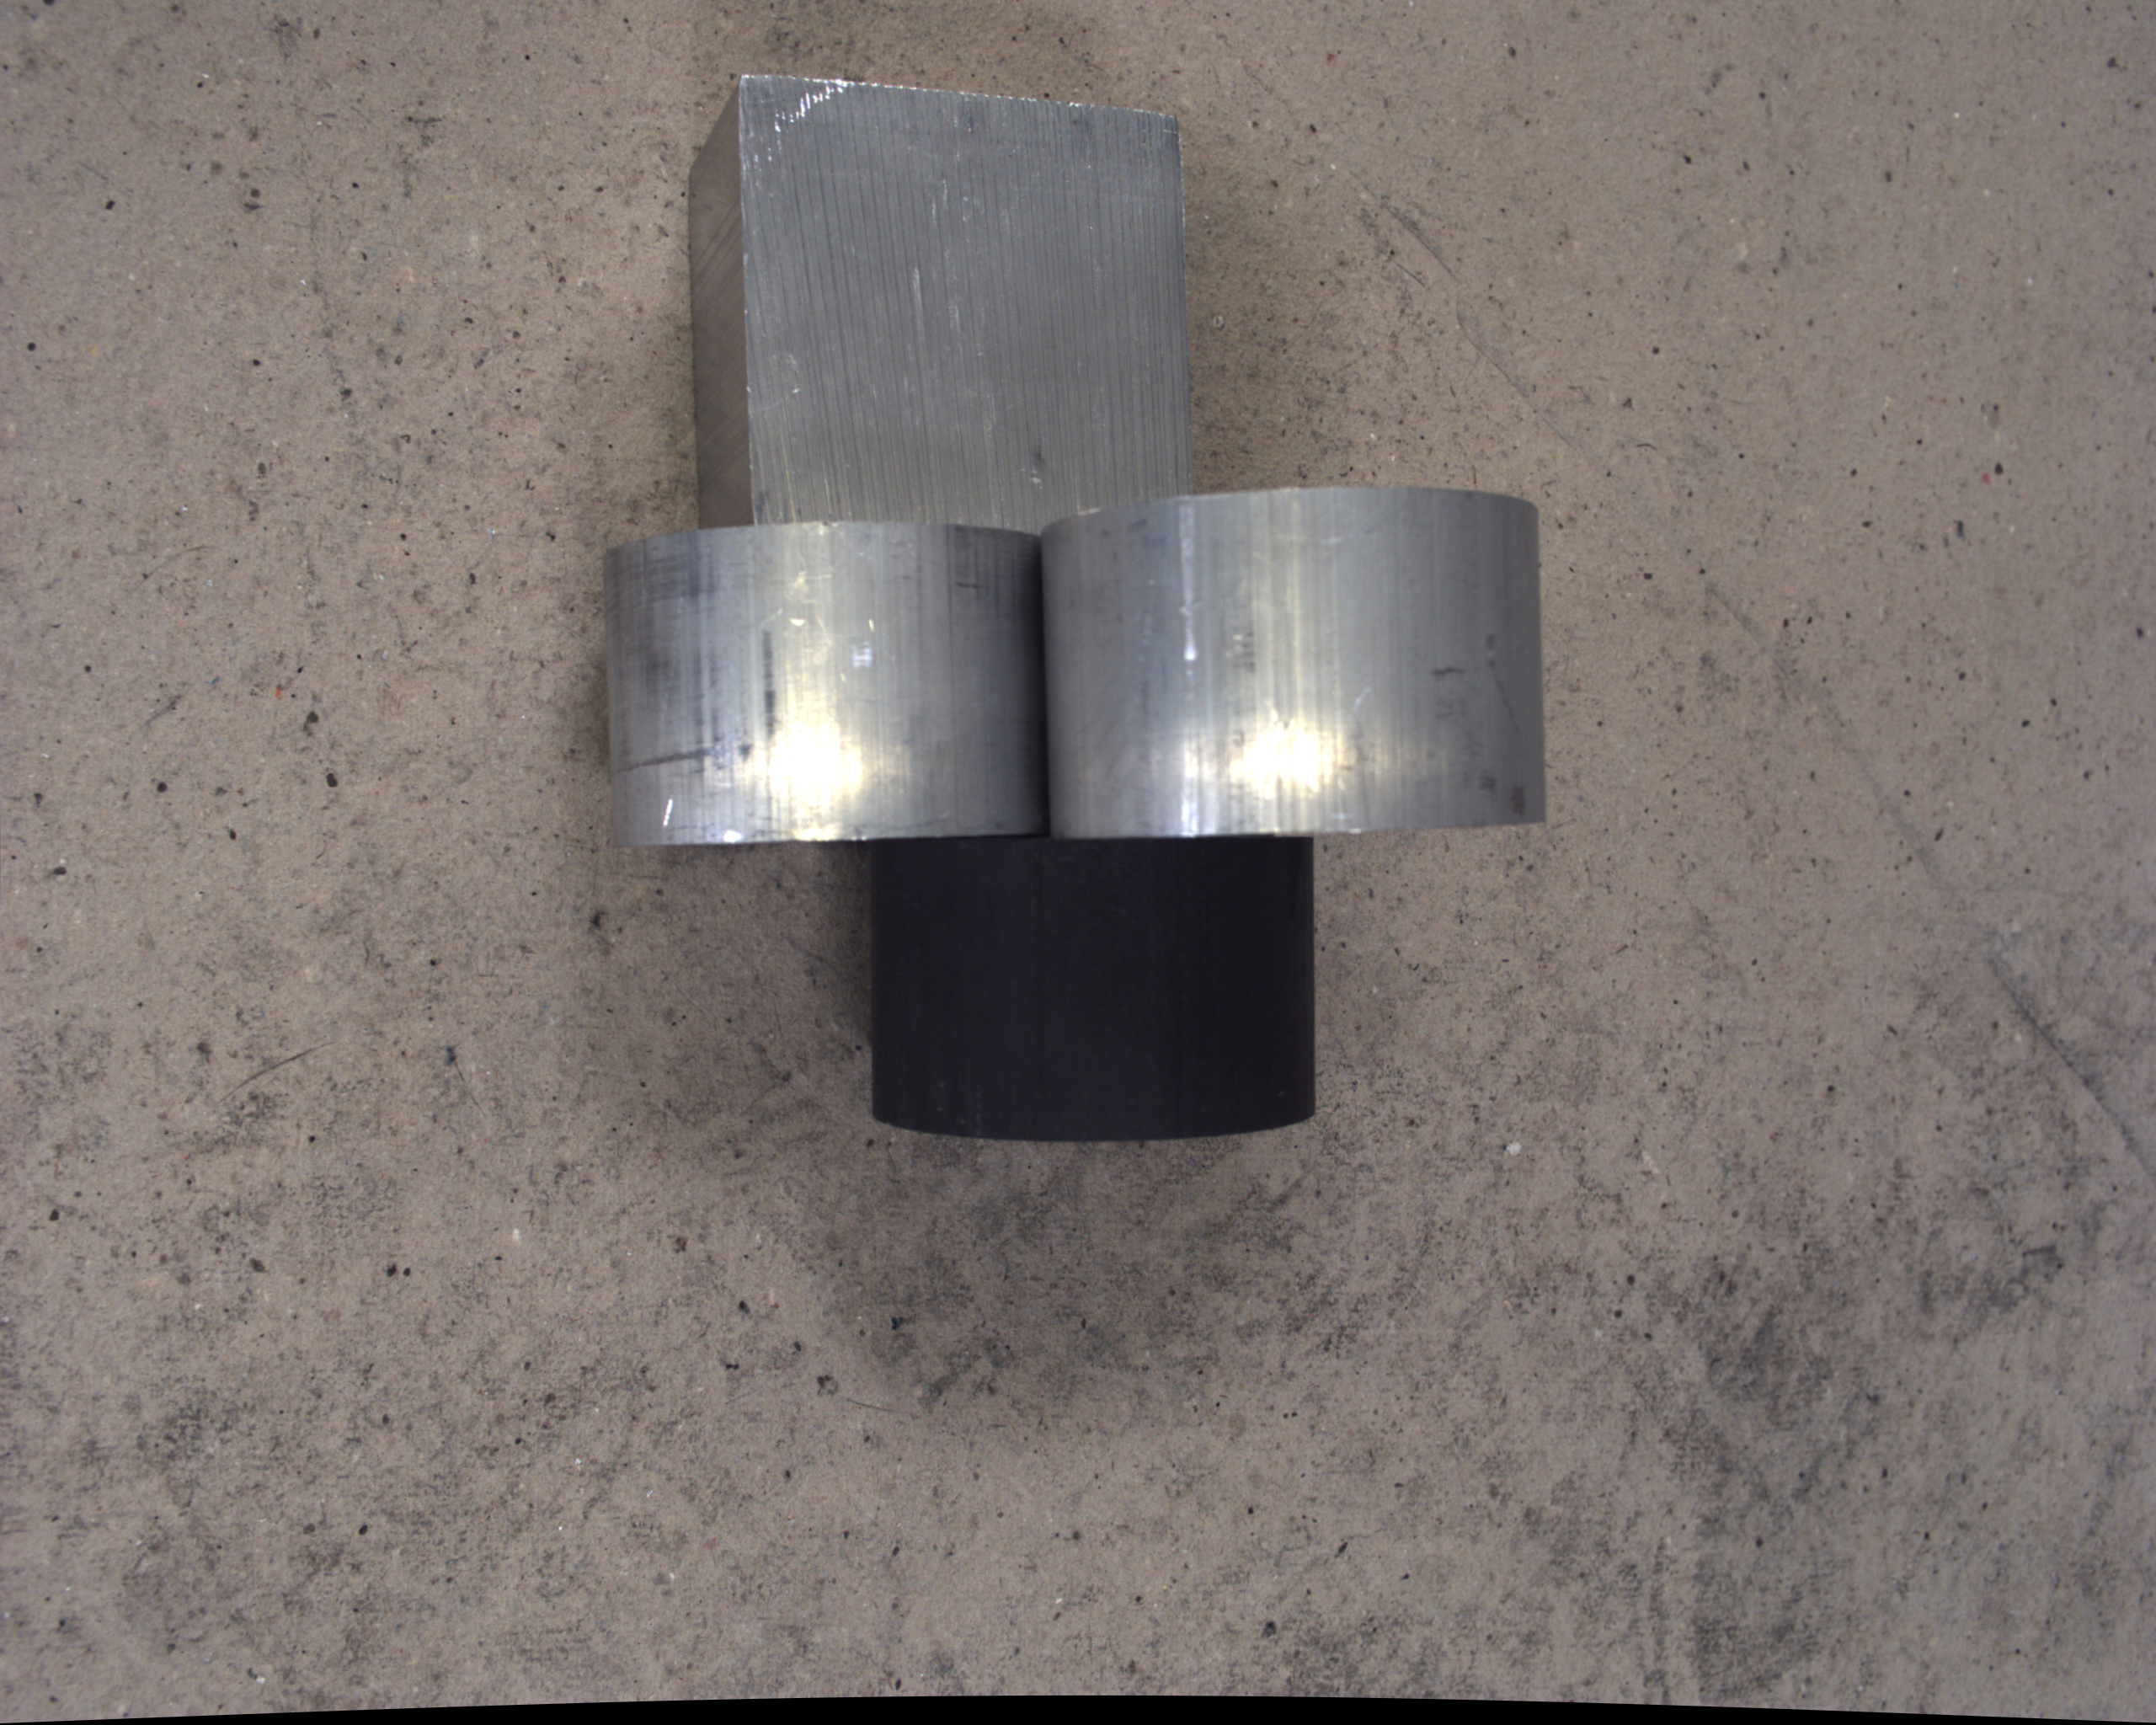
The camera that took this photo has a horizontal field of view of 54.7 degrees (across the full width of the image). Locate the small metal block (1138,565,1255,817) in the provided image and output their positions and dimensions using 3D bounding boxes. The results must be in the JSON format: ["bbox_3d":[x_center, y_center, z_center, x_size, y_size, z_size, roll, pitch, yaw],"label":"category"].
[{"bbox_3d":[0.014,-0.030,0.405,0.025,0.050,0.050,1,90,-20],"label":"small metal block"}]

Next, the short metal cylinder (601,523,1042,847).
[{"bbox_3d":[-0.041,-0.029,0.366,0.081,0.080,0.050,-2,91,-20],"label":"short metal cylinder"}]

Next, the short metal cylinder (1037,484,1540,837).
[{"bbox_3d":[0.034,-0.030,0.341,0.081,0.080,0.050,-2,91,-20],"label":"short metal cylinder"}]

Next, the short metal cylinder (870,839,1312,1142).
[{"bbox_3d":[0.002,0.021,0.383,0.081,0.080,0.050,0,90,-20],"label":"short metal cylinder"}]

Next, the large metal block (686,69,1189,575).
[{"bbox_3d":[-0.027,-0.095,0.388,0.081,0.050,0.080,-2,91,-20],"label":"large metal block"}]
